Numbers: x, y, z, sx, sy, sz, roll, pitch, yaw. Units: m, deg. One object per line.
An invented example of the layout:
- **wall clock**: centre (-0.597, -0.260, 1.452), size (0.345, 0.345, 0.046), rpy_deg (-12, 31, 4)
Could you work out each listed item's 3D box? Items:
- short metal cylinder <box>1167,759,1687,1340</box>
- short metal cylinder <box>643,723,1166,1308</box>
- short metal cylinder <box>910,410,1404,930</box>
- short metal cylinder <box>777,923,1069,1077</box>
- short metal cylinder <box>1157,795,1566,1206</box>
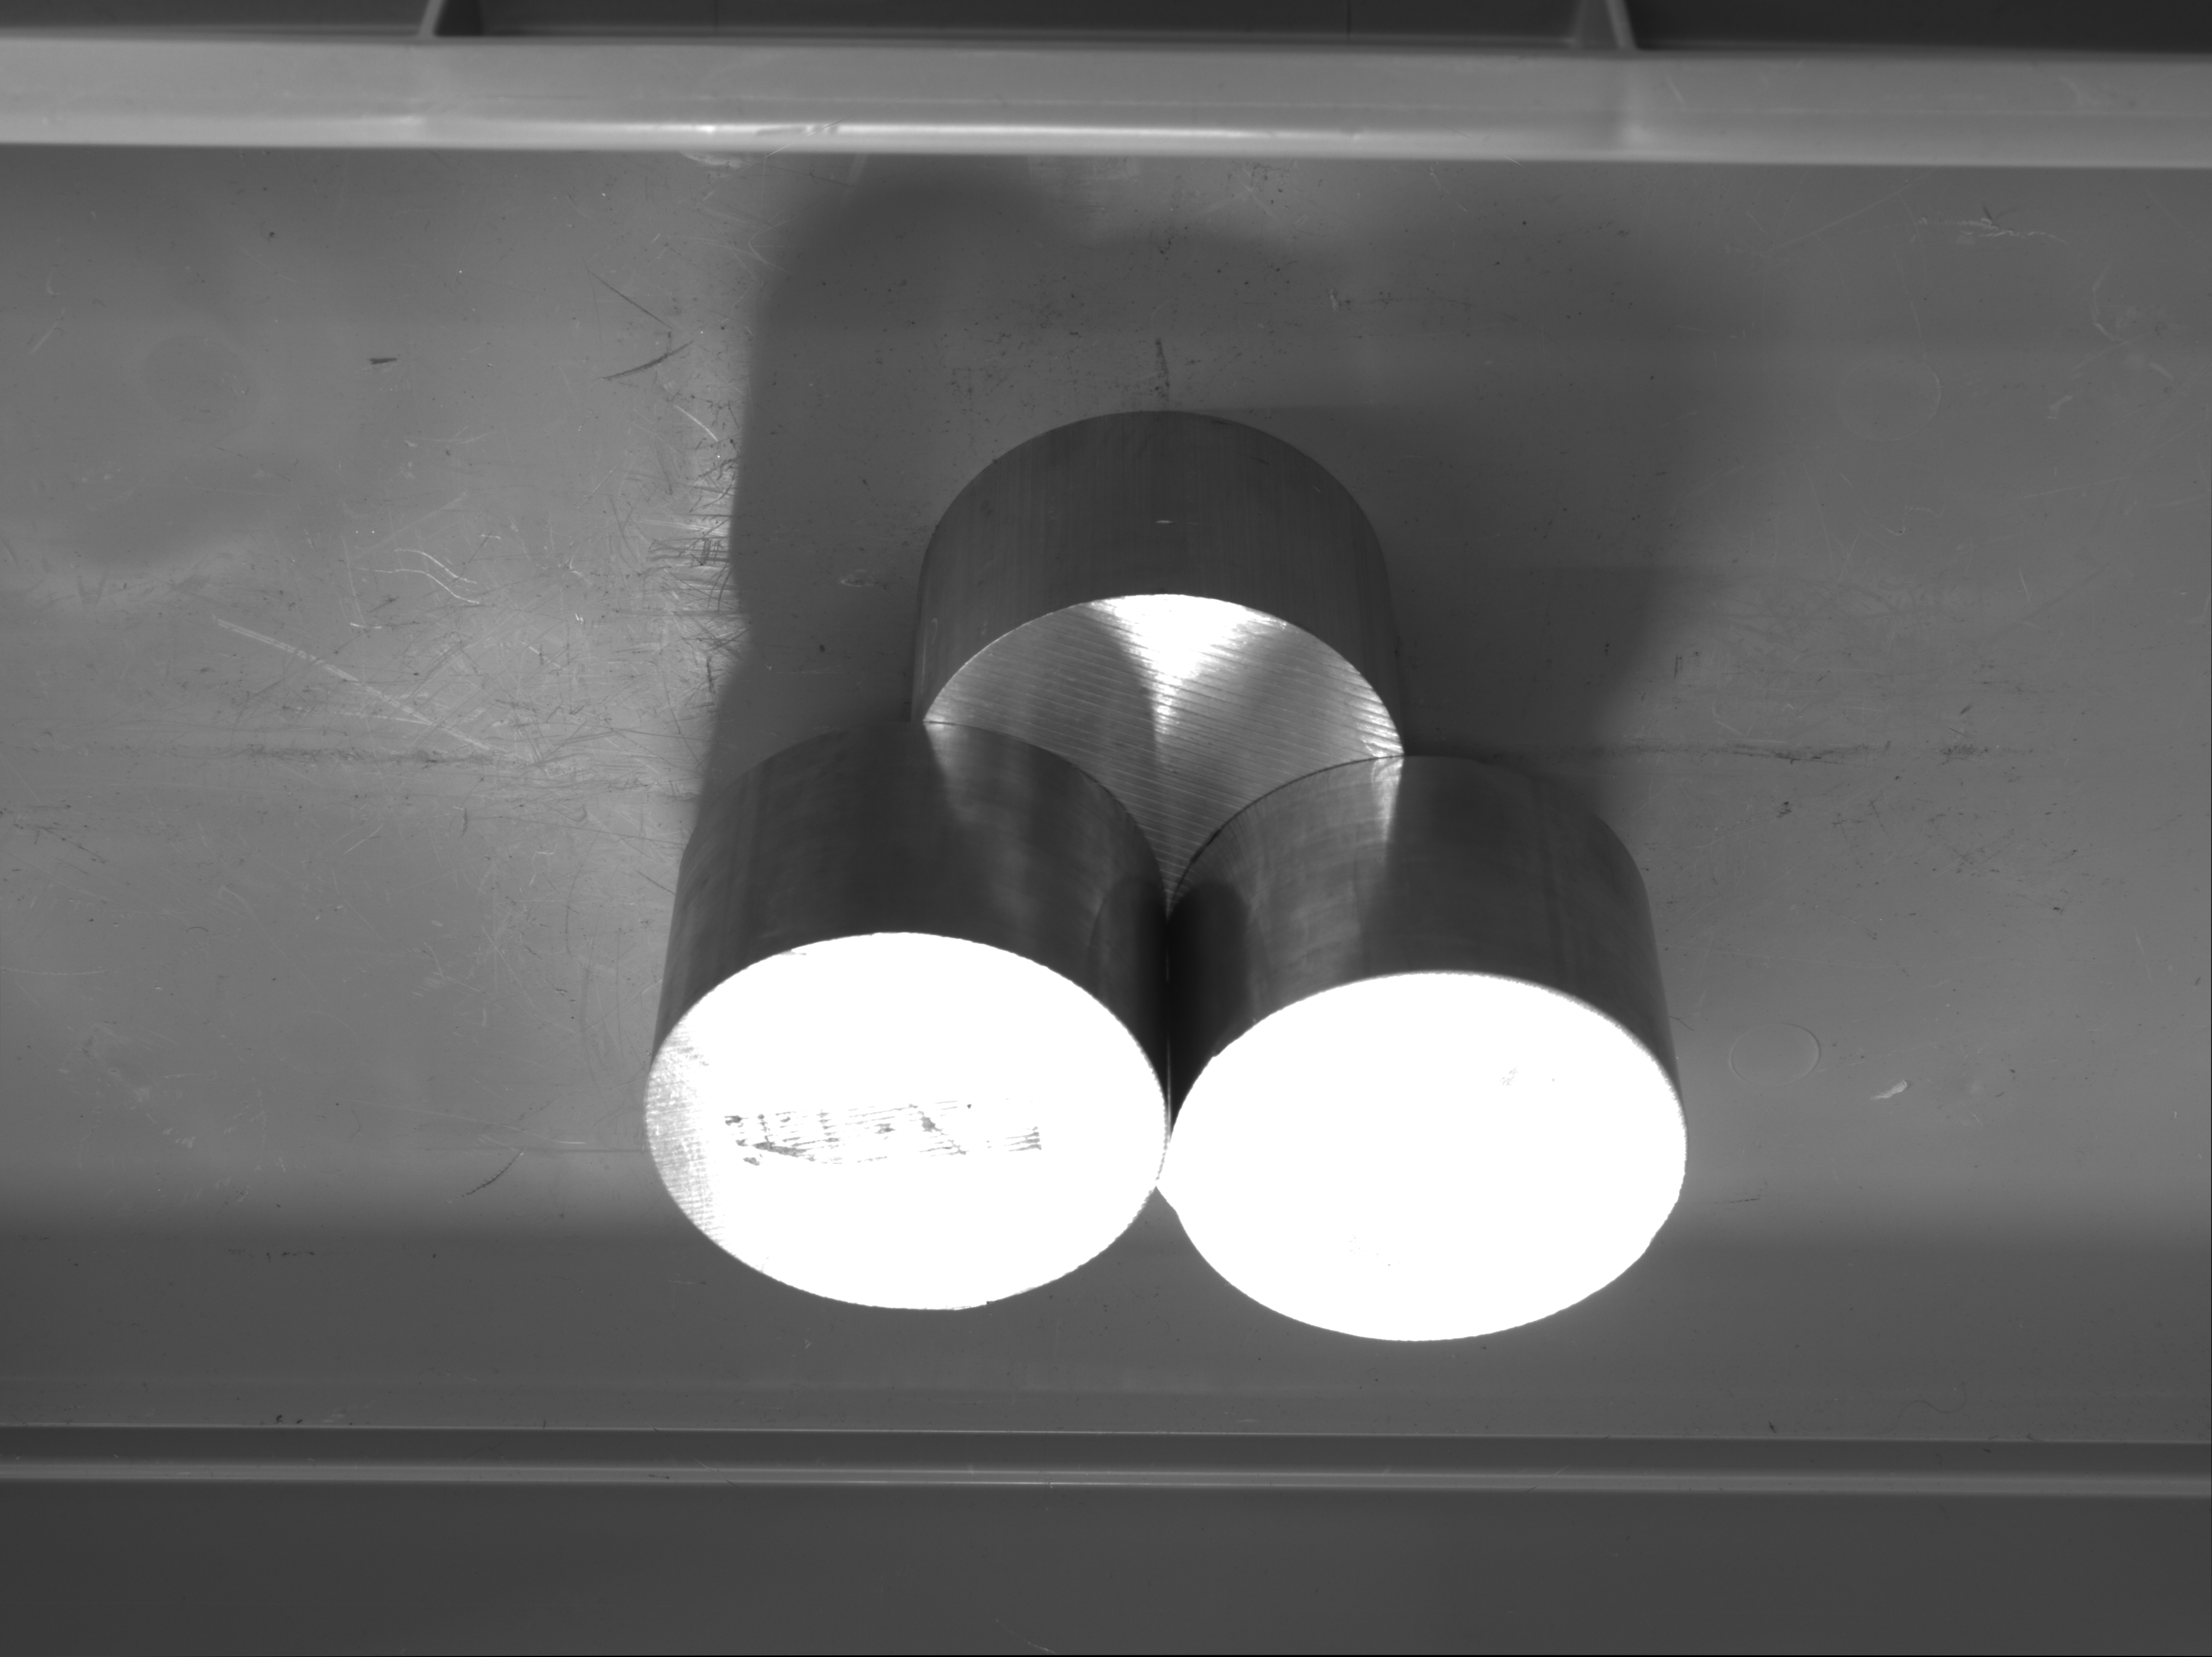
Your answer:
- **short metal cylinder**: centre (0.050, 0.036, 0.585), size (0.080, 0.050, 0.080), rpy_deg (0, 130, 0)
- **short metal cylinder**: centre (-0.031, 0.030, 0.581), size (0.080, 0.050, 0.080), rpy_deg (0, 130, 0)
- **short metal cylinder**: centre (0.008, -0.021, 0.604), size (0.080, 0.050, 0.080), rpy_deg (0, 130, 0)
- **short metal cylinder**: centre (-0.036, 0.030, 0.646), size (0.080, 0.050, 0.080), rpy_deg (0, 130, 0)
- **short metal cylinder**: centre (0.045, 0.034, 0.650), size (0.080, 0.050, 0.080), rpy_deg (0, 130, 0)
